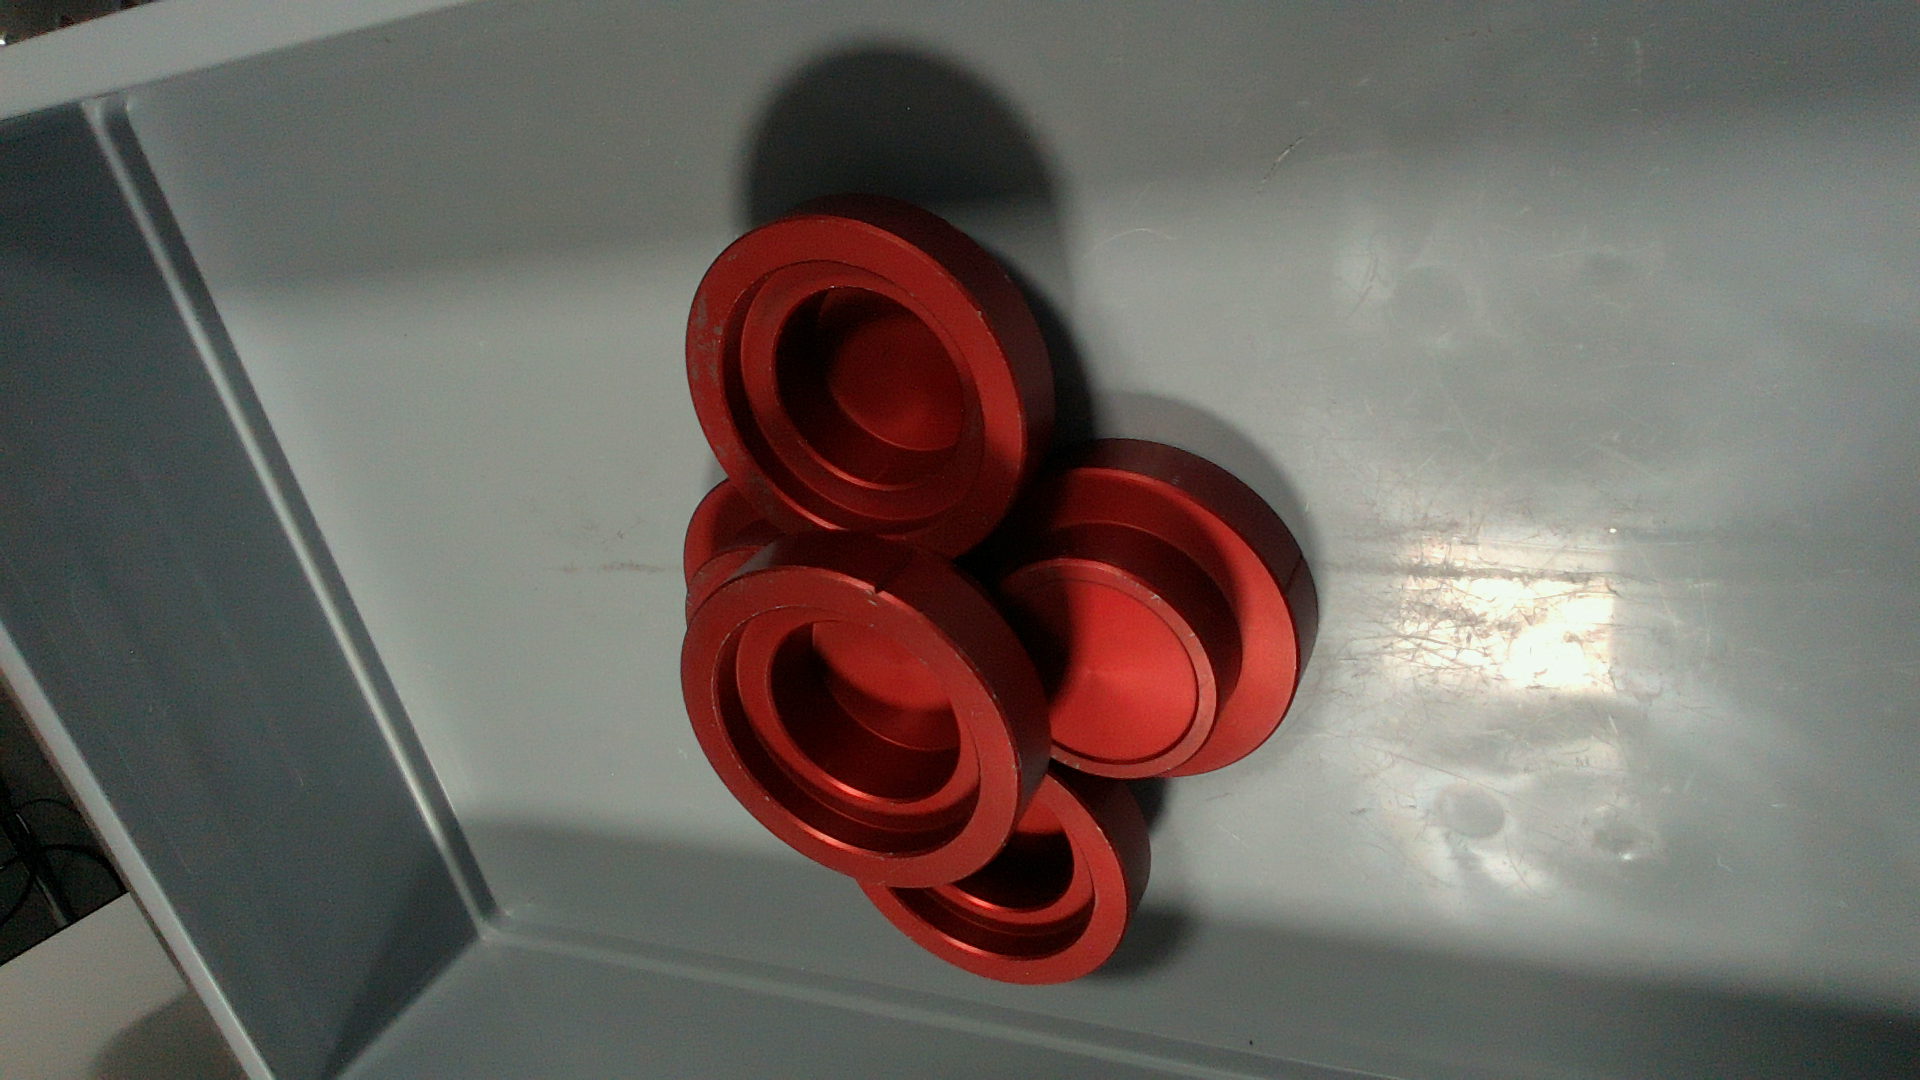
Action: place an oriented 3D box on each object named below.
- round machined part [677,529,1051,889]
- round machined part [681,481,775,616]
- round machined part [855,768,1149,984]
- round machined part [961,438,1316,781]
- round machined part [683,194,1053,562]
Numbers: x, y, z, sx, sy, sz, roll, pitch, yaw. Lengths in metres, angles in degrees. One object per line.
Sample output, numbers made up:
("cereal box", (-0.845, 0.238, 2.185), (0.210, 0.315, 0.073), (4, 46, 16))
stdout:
("round machined part", (-0.021, 0.040, 0.361), (0.098, 0.042, 0.098), (13, 124, 21))
("round machined part", (-0.044, 0.022, 0.418), (0.098, 0.042, 0.098), (13, 124, 21))
("round machined part", (0.012, 0.086, 0.427), (0.098, 0.042, 0.098), (13, 124, 21))
("round machined part", (0.043, 0.025, 0.372), (0.098, 0.042, 0.098), (13, 124, 21))
("round machined part", (-0.021, -0.043, 0.364), (0.098, 0.042, 0.098), (13, 124, 21))
